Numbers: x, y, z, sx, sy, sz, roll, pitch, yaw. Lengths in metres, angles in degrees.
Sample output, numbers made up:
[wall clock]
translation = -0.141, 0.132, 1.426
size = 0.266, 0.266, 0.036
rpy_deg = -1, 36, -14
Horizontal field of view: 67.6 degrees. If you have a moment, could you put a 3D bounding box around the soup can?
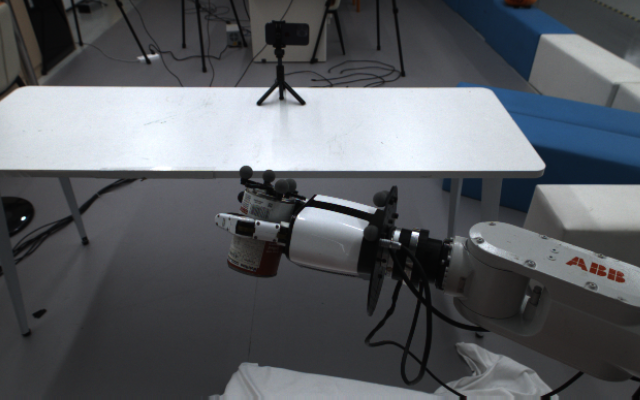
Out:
[soup can]
translation = -0.073, 0.040, 0.616
size = 0.067, 0.101, 0.067
rpy_deg = 15, 7, -2
